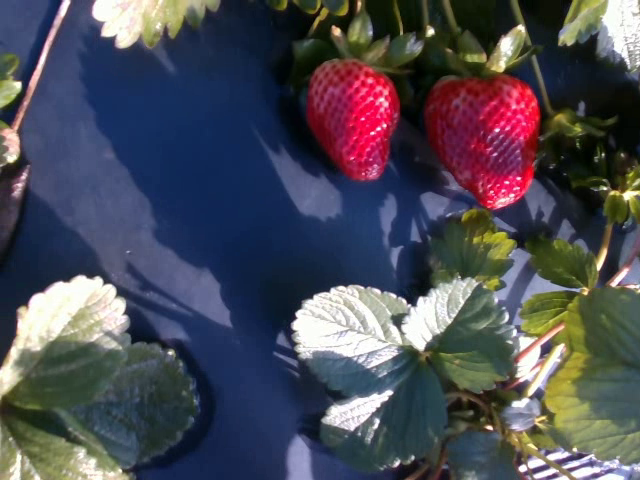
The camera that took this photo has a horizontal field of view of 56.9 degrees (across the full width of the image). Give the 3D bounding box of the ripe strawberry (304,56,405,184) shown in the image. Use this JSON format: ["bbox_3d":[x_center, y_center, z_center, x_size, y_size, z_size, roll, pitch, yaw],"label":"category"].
[{"bbox_3d":[0.013,-0.041,0.212,0.043,0.052,0.036,-17,-11,14],"label":"ripe strawberry"}]

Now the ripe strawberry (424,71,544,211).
[{"bbox_3d":[0.066,-0.036,0.226,0.052,0.058,0.046,-9,-13,9],"label":"ripe strawberry"}]
